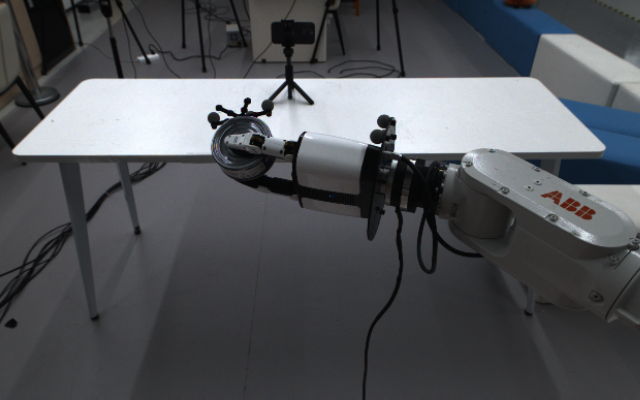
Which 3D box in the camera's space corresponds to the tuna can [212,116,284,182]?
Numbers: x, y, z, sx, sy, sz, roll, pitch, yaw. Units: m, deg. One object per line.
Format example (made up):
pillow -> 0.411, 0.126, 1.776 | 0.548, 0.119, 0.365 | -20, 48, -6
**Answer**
tuna can -> -0.100, -0.066, 0.658 | 0.085, 0.034, 0.085 | -4, 68, 9
